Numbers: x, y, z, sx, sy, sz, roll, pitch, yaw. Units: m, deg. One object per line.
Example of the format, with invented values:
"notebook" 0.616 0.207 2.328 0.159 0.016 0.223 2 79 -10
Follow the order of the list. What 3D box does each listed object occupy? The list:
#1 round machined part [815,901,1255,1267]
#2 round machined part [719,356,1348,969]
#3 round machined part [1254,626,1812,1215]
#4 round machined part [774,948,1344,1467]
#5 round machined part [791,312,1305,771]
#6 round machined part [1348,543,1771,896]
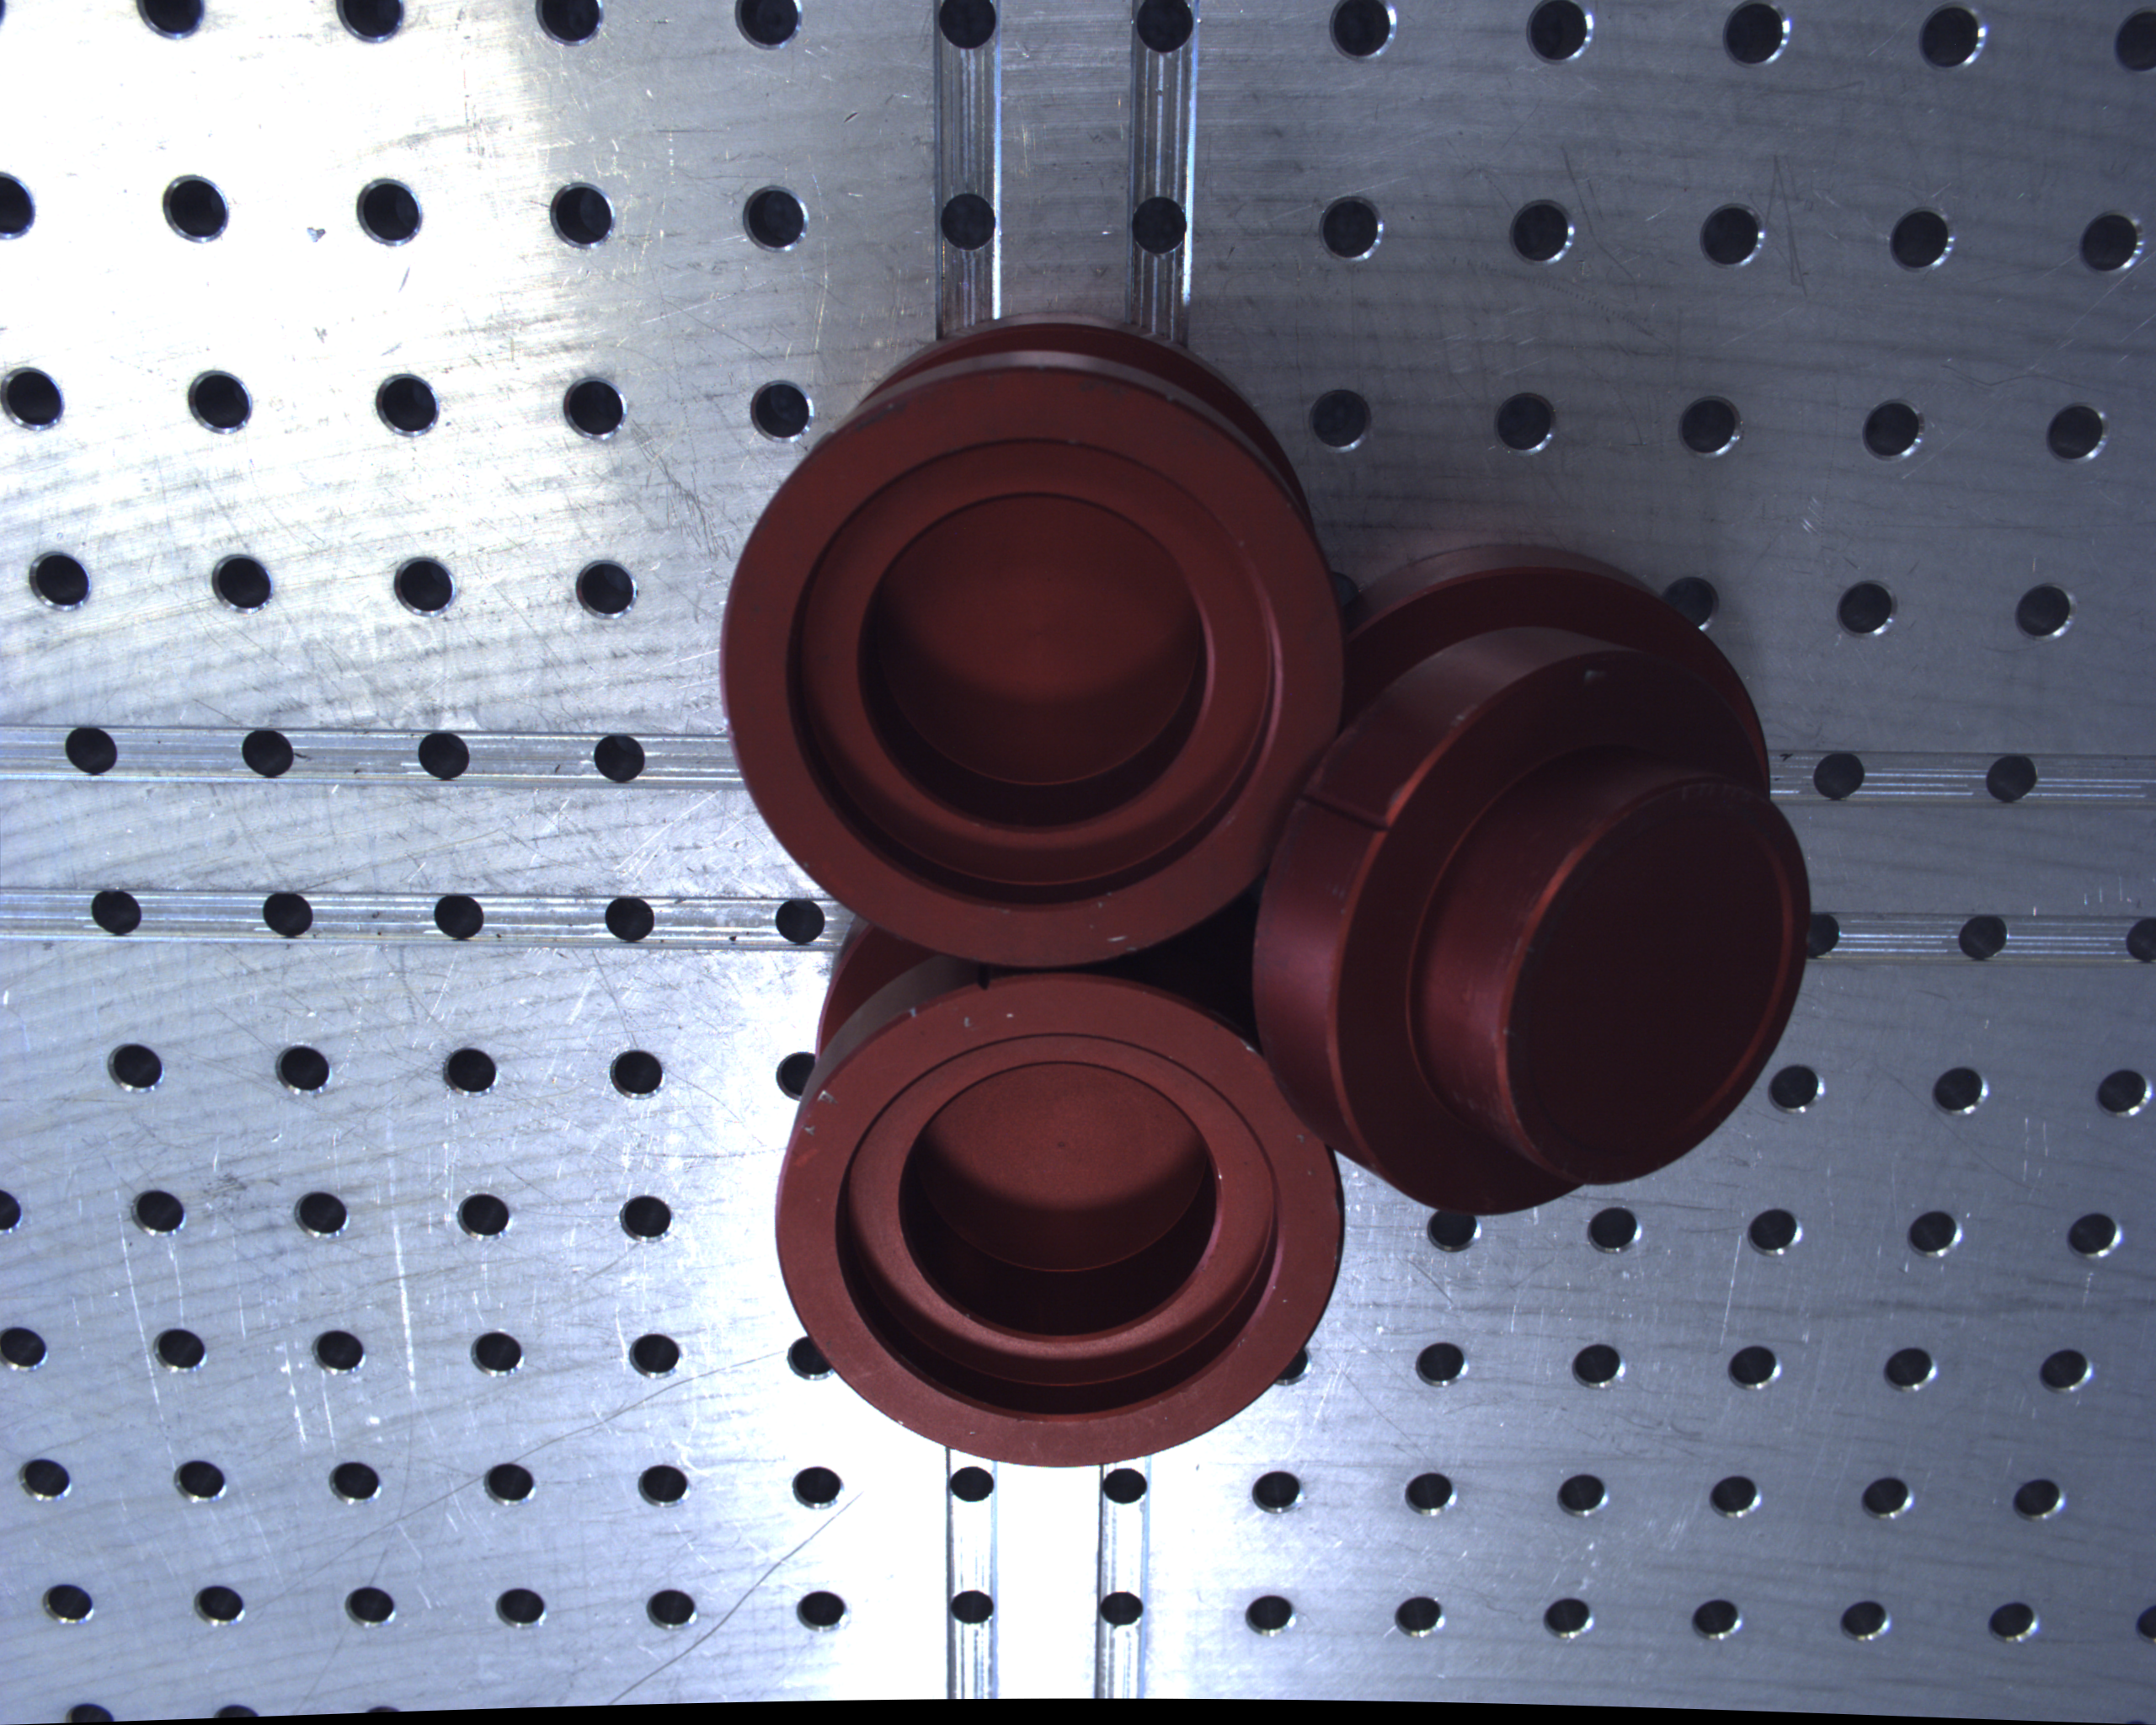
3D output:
"round machined part" -0.004 0.042 0.420 0.099 0.042 0.097 0 110 0
"round machined part" -0.007 -0.035 0.346 0.099 0.042 0.097 0 110 0
"round machined part" 0.081 0.013 0.342 0.099 0.042 0.097 -12 113 -30
"round machined part" -0.003 0.057 0.380 0.099 0.042 0.097 0 110 0
"round machined part" -0.005 -0.050 0.387 0.099 0.042 0.097 0 110 0
"round machined part" 0.084 -0.009 0.402 0.099 0.042 0.097 0 110 0
